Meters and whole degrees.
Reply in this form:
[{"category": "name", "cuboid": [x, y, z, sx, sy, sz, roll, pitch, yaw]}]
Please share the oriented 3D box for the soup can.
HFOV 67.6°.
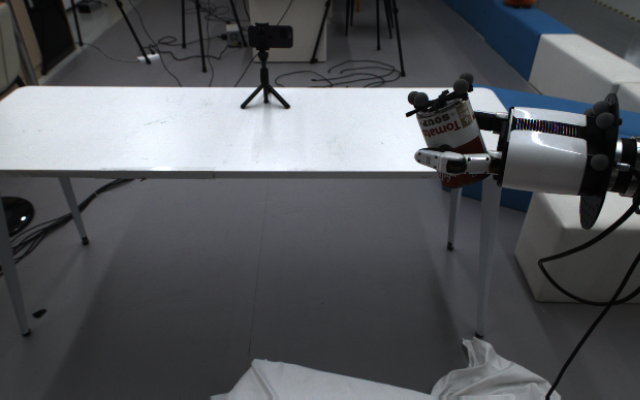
[{"category": "soup can", "cuboid": [0.171, -0.076, 0.613, 0.067, 0.101, 0.067, -23, 16, 7]}]
